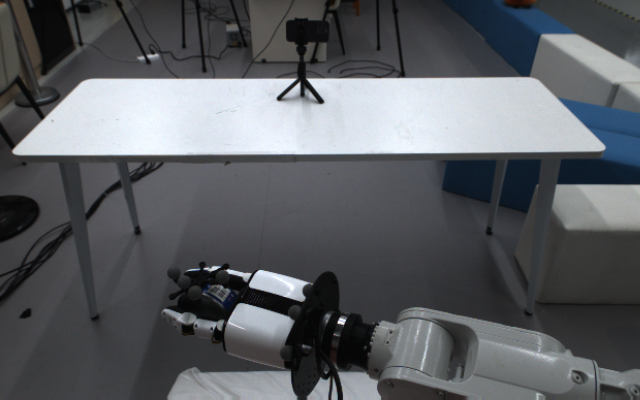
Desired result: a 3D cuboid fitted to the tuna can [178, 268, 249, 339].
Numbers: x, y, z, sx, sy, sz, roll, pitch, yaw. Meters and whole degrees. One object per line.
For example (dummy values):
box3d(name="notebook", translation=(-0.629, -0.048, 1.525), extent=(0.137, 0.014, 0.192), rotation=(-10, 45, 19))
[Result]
box3d(name="tuna can", translation=(-0.147, 0.149, 0.661), extent=(0.085, 0.085, 0.034), rotation=(14, 34, 16))
